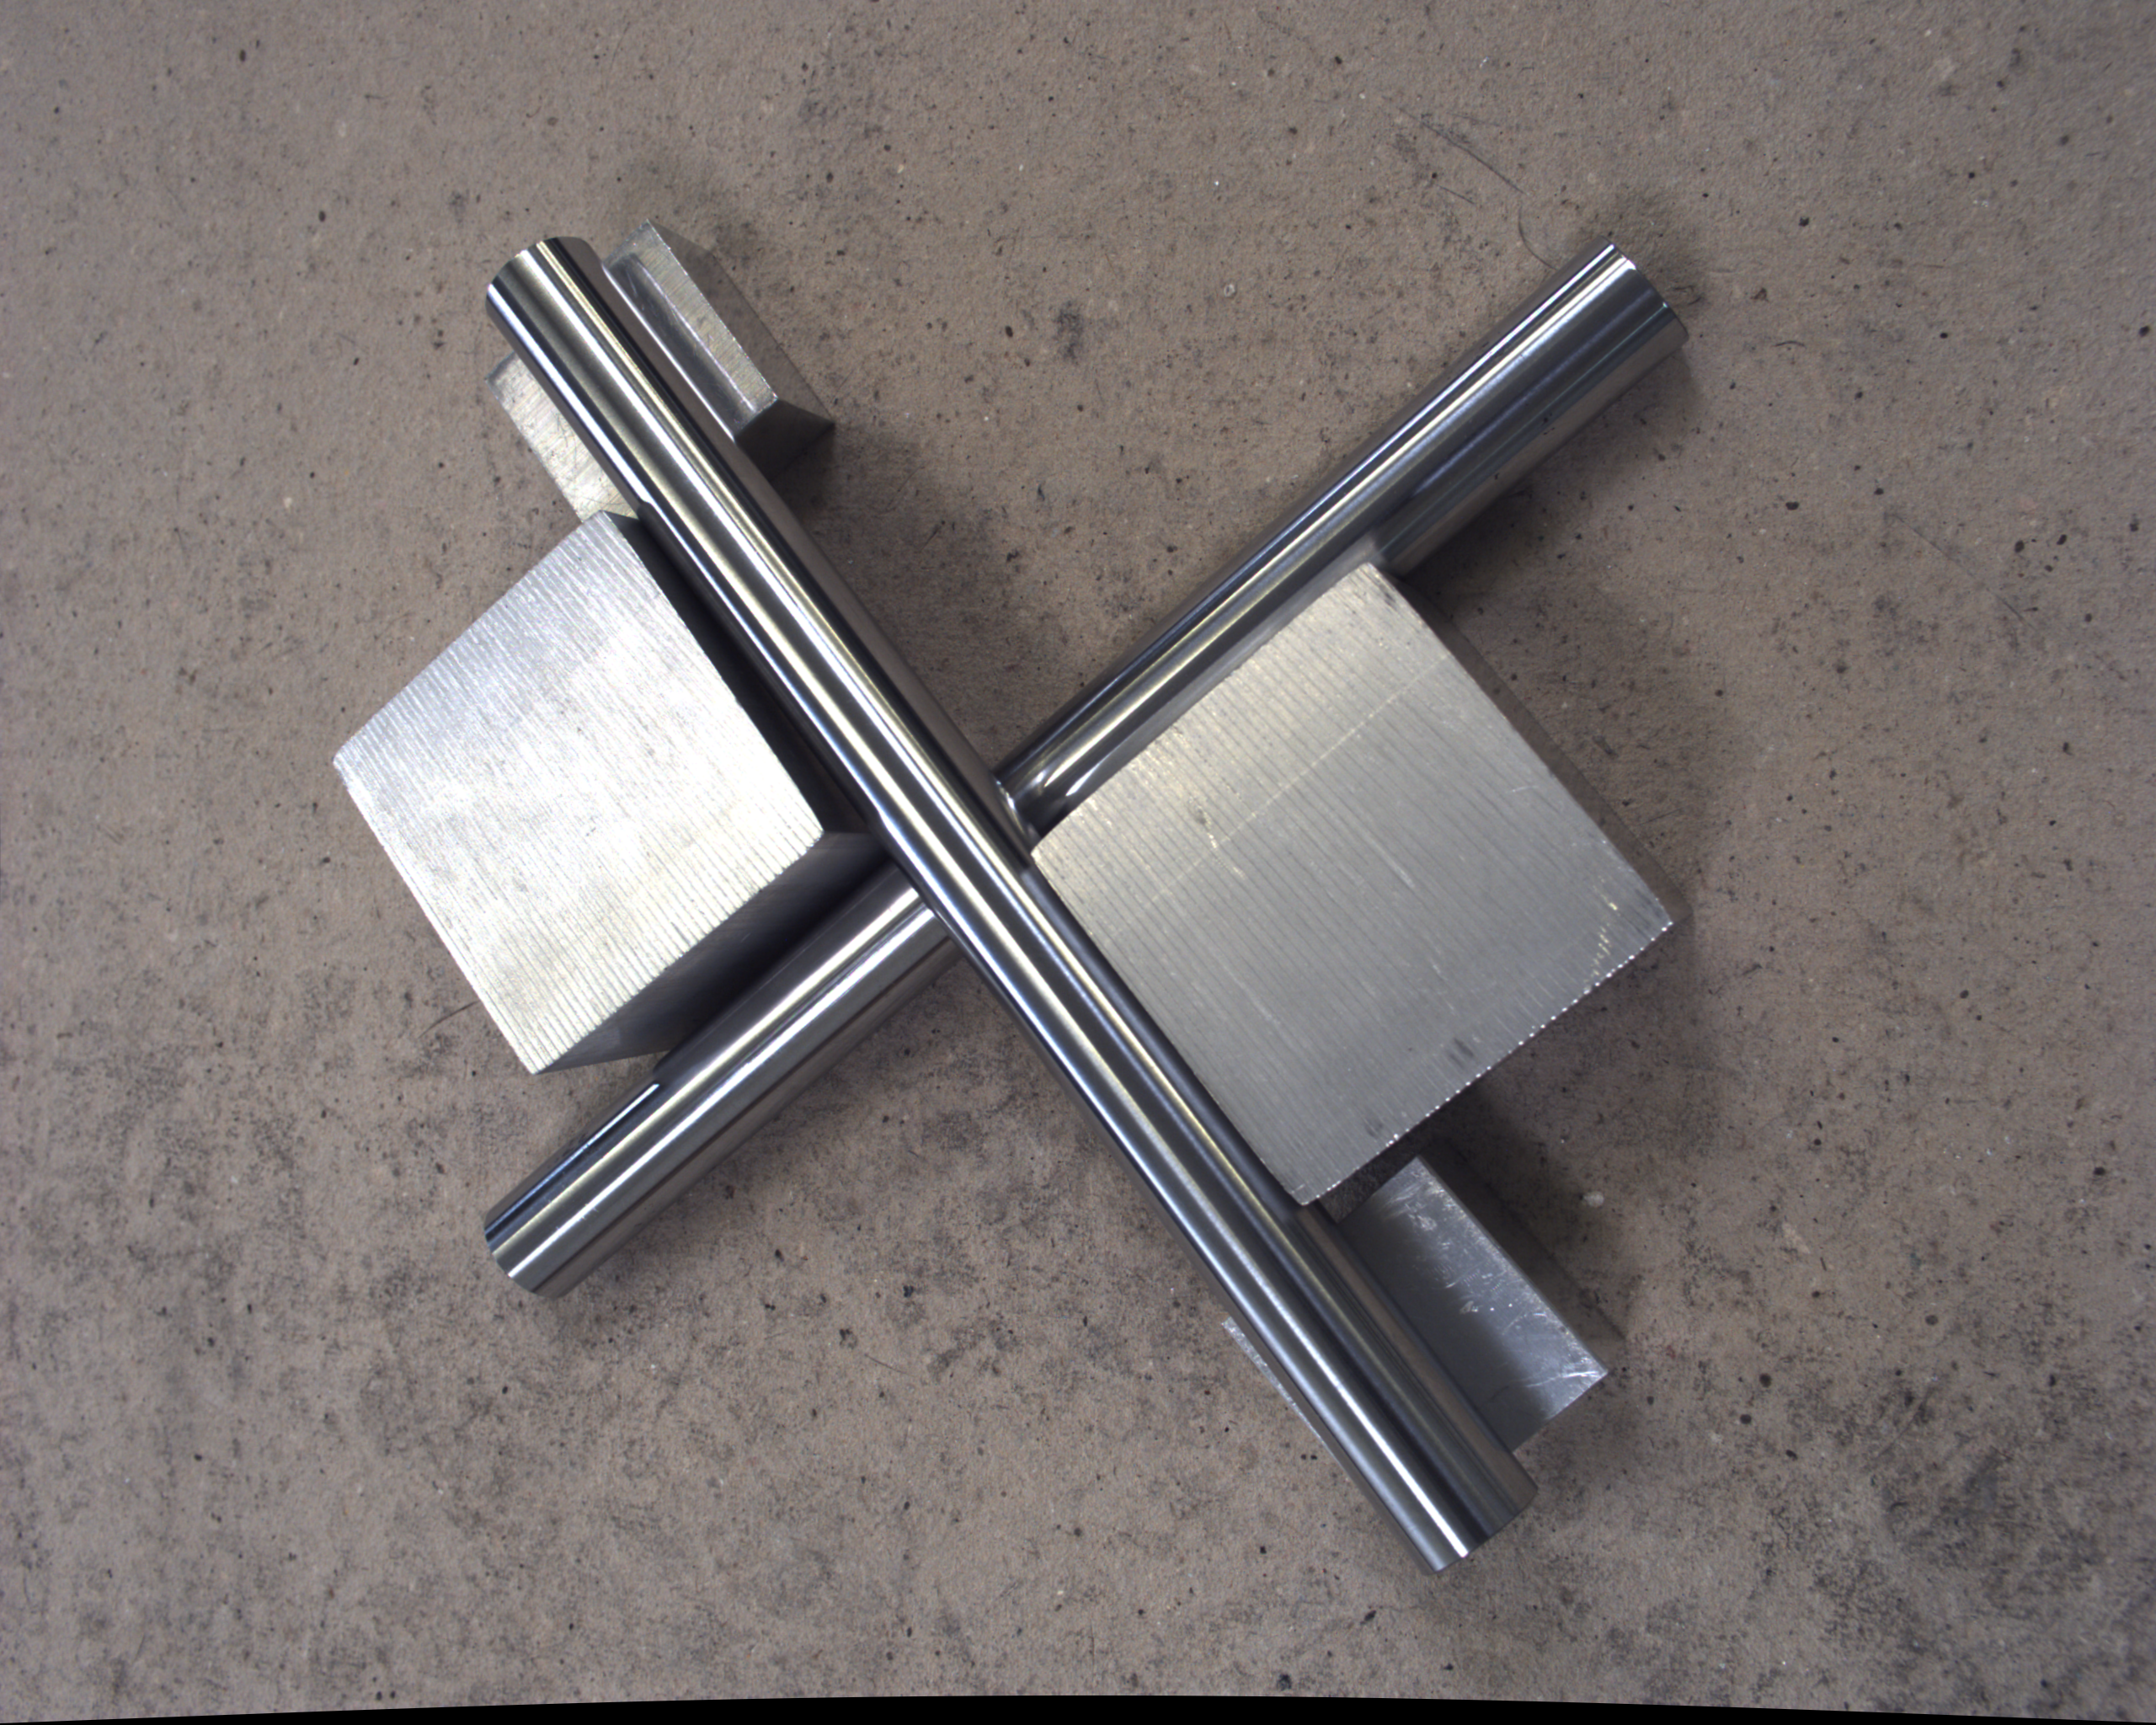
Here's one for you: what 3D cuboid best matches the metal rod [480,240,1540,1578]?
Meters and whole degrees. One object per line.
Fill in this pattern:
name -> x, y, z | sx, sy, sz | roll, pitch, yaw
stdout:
metal rod -> -0.020, -0.001, 0.390 | 0.025, 0.025, 0.300 | -41, 77, 15

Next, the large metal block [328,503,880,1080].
large metal block -> -0.090, -0.014, 0.427 | 0.080, 0.050, 0.080 | -39, 78, 16

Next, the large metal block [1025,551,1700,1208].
large metal block -> 0.052, 0.003, 0.378 | 0.080, 0.050, 0.080 | -41, 77, 15

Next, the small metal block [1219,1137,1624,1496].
small metal block -> 0.064, 0.087, 0.388 | 0.050, 0.025, 0.050 | -45, 76, 14

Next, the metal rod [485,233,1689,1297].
metal rod -> -0.008, -0.010, 0.414 | 0.299, 0.025, 0.025 | -40, 77, 15

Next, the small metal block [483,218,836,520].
small metal block -> -0.089, -0.098, 0.442 | 0.050, 0.025, 0.050 | -39, 78, 15
